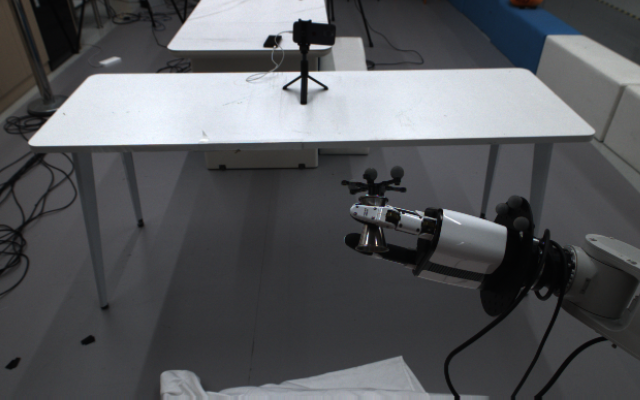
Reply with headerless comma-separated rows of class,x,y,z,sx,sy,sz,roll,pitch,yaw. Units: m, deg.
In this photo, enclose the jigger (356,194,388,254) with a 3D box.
jigger,0.068,0.030,0.634,0.043,0.043,0.071,3,75,2
